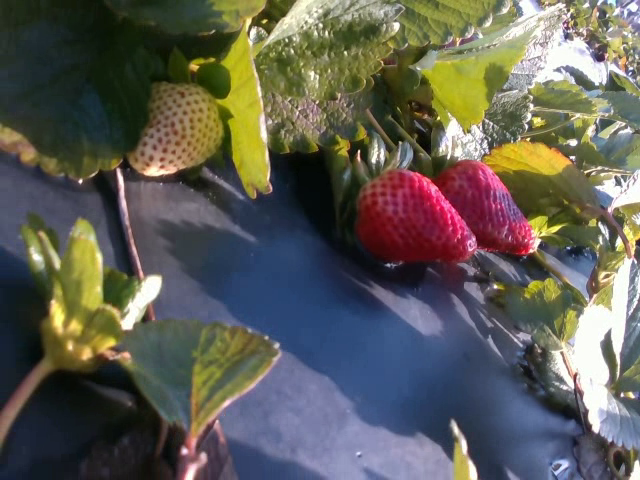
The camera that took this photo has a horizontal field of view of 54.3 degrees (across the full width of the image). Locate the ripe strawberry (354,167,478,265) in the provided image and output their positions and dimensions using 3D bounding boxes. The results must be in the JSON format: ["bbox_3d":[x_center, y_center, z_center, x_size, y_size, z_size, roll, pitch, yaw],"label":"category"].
[{"bbox_3d":[0.036,-0.005,0.221,0.051,0.043,0.037,33,-32,15],"label":"ripe strawberry"}]

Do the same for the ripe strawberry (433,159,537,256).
[{"bbox_3d":[0.070,-0.009,0.265,0.057,0.046,0.052,36,52,20],"label":"ripe strawberry"}]
